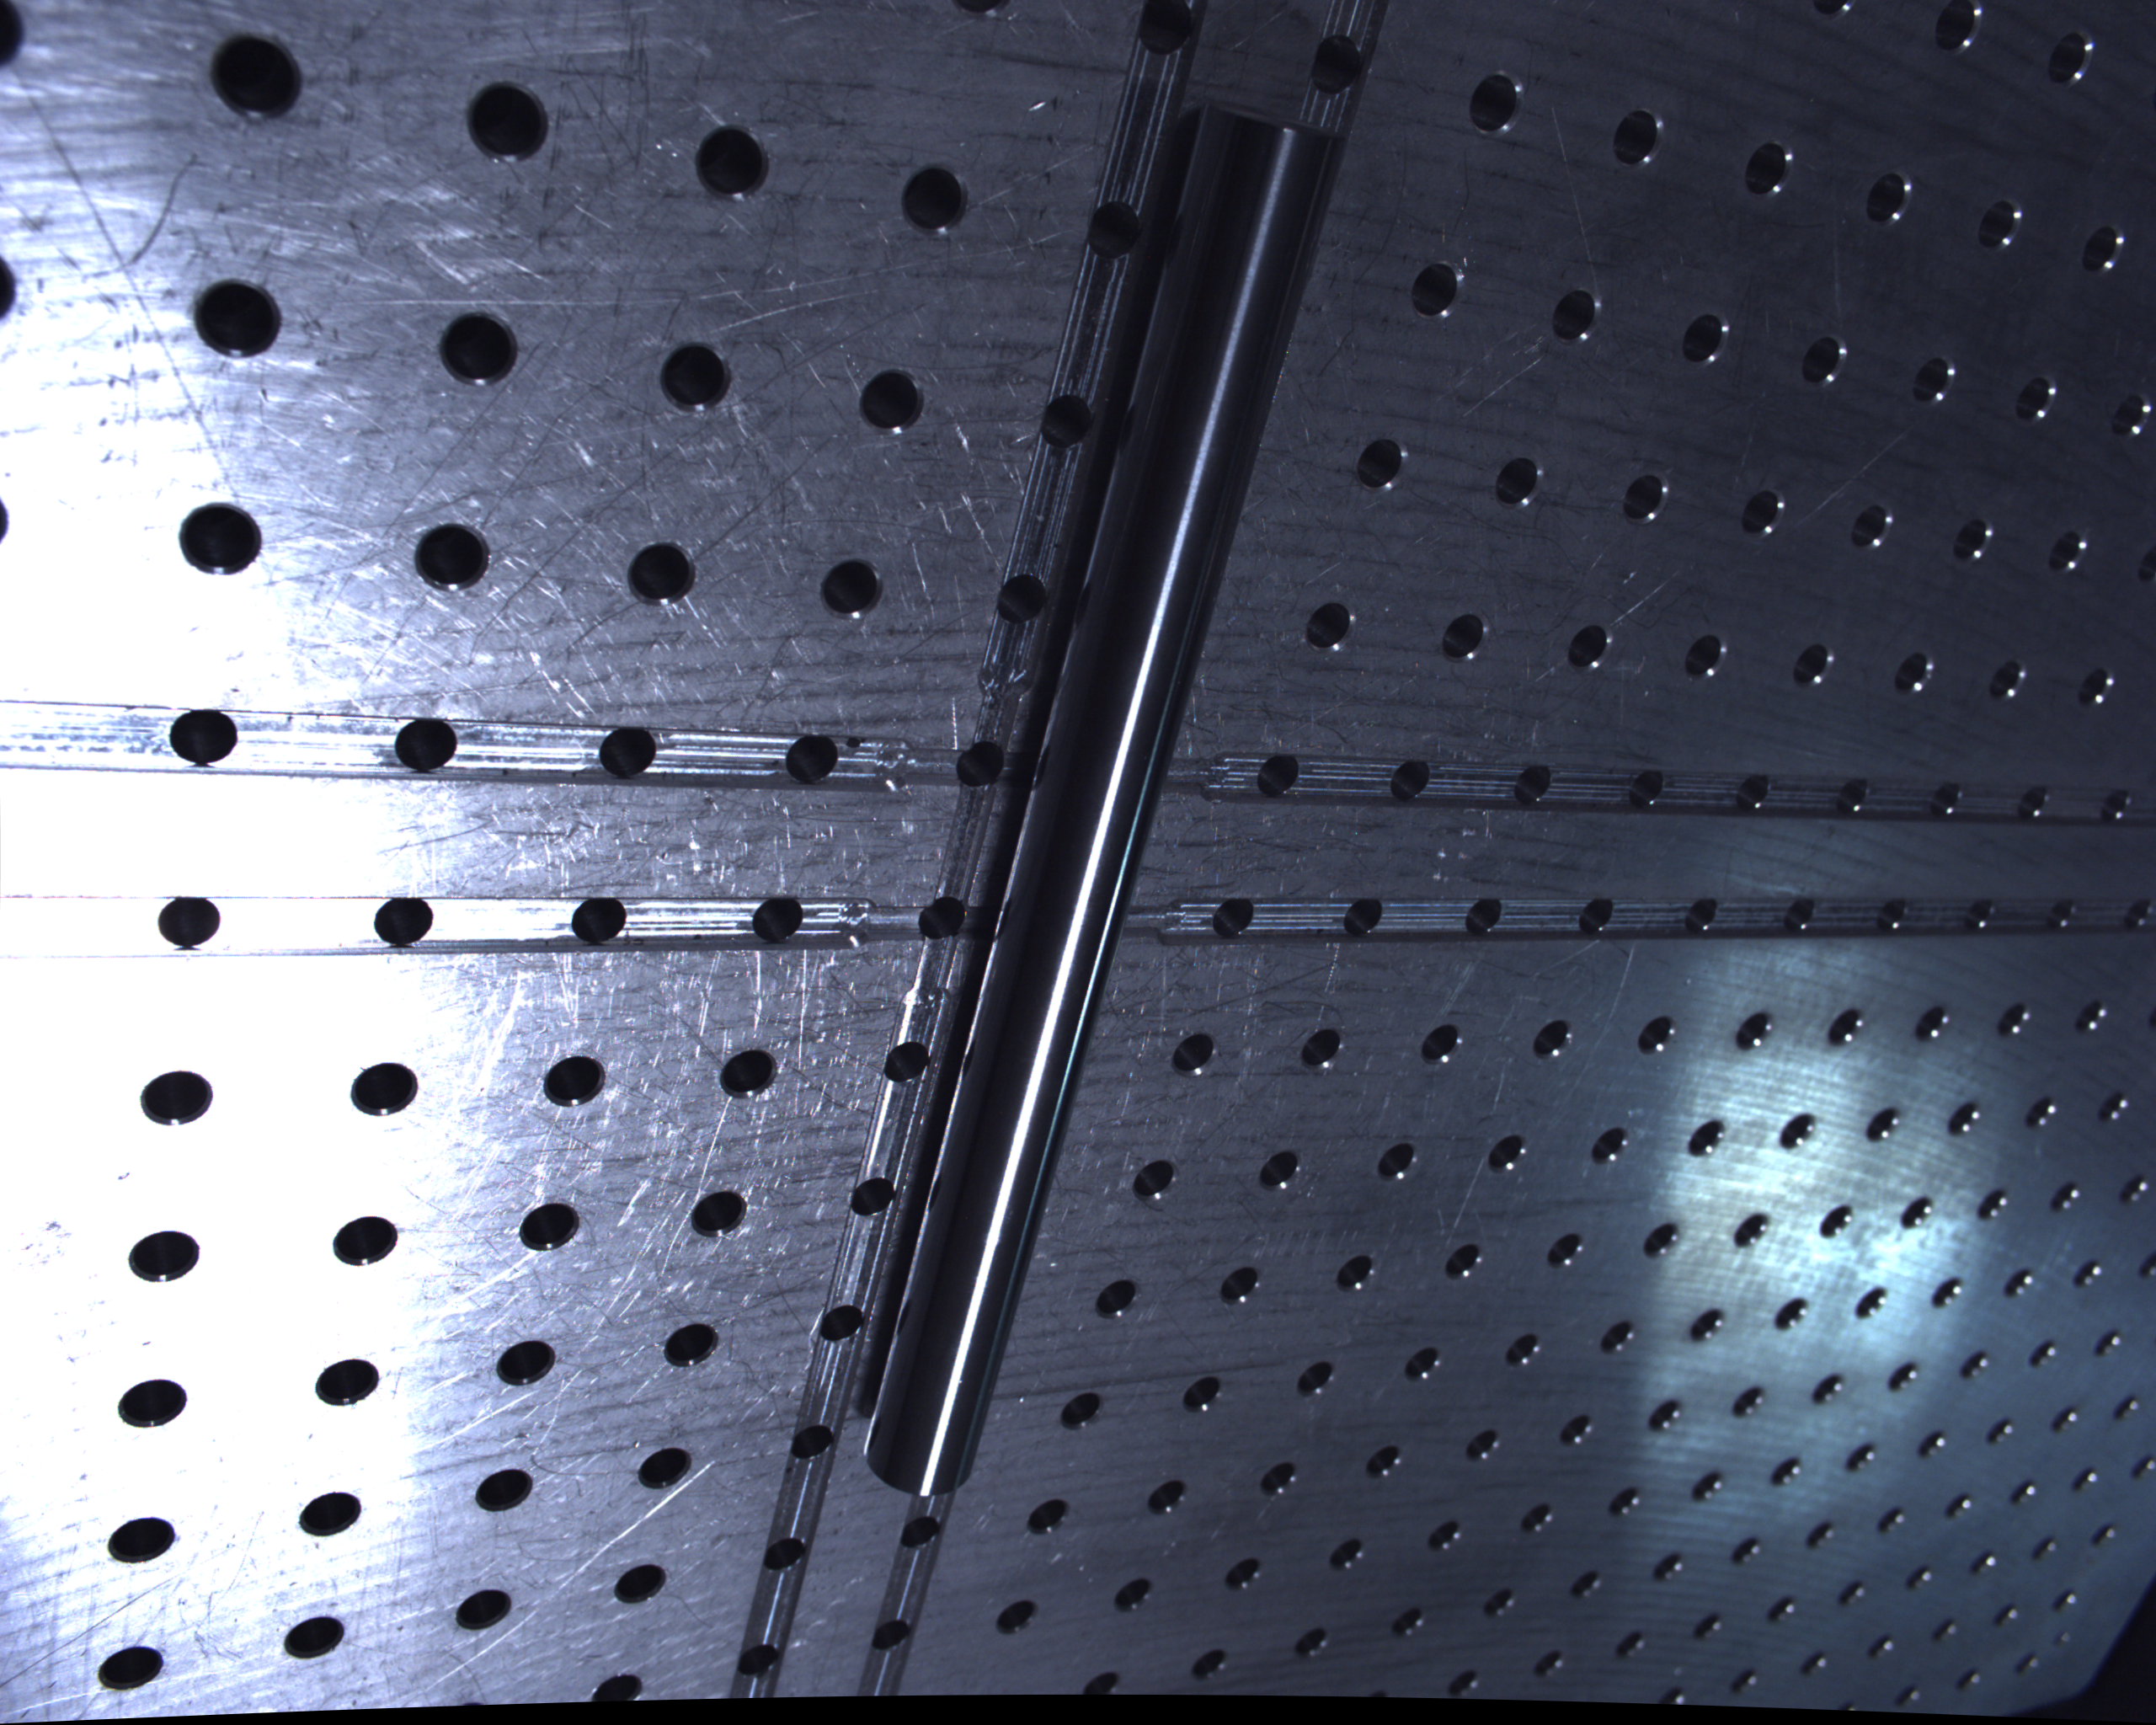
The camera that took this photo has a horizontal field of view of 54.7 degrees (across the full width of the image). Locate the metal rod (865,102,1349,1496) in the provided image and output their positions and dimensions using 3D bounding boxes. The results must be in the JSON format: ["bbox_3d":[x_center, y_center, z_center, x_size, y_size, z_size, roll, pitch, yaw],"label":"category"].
[{"bbox_3d":[-0.001,0.005,0.415,0.025,0.025,0.298,0,118,-29],"label":"metal rod"}]
